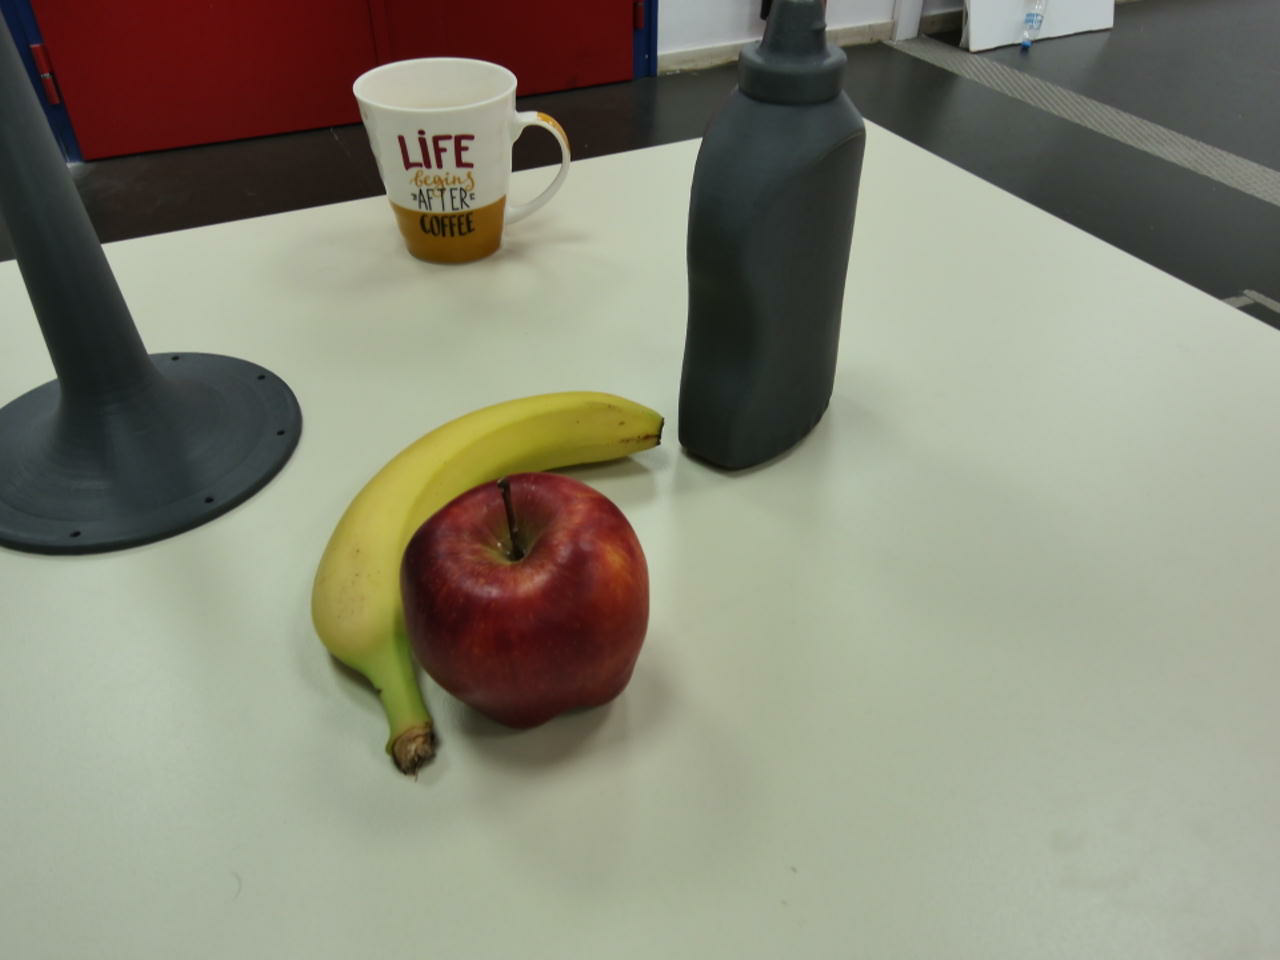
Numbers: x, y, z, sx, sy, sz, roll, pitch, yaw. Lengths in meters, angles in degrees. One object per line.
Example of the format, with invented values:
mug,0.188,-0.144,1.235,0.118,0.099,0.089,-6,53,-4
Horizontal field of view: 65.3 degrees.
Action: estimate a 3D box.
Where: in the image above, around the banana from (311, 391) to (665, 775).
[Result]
banana,-0.070,0.017,0.401,0.094,0.041,0.196,18,41,21
